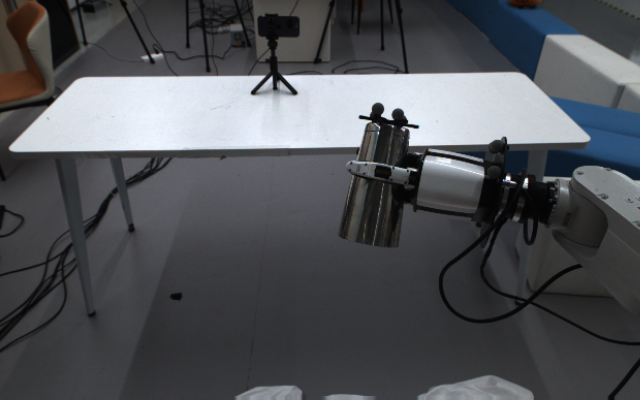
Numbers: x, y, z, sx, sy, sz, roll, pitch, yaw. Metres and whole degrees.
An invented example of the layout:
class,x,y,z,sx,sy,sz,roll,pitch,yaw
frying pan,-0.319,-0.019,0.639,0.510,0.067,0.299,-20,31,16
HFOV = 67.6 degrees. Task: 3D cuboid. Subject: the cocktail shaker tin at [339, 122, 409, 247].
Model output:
class,x,y,z,sx,sy,sz,roll,pitch,yaw
cocktail shaker tin,0.086,-0.024,0.715,0.093,0.170,0.093,10,3,-1
